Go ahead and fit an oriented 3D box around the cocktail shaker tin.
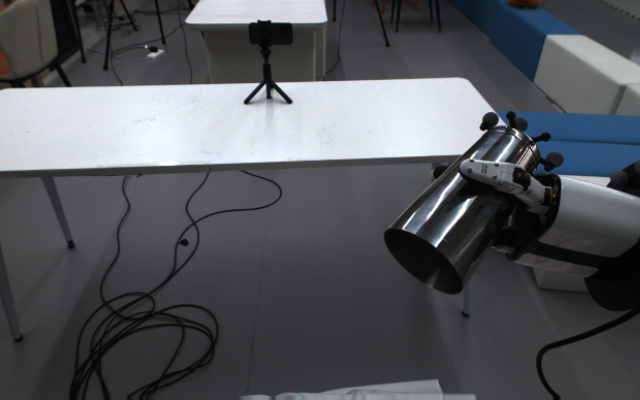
[{"bbox_3d":[0.155,-0.001,0.500,0.093,0.093,0.170,32,67,35],"label":"cocktail shaker tin"}]
